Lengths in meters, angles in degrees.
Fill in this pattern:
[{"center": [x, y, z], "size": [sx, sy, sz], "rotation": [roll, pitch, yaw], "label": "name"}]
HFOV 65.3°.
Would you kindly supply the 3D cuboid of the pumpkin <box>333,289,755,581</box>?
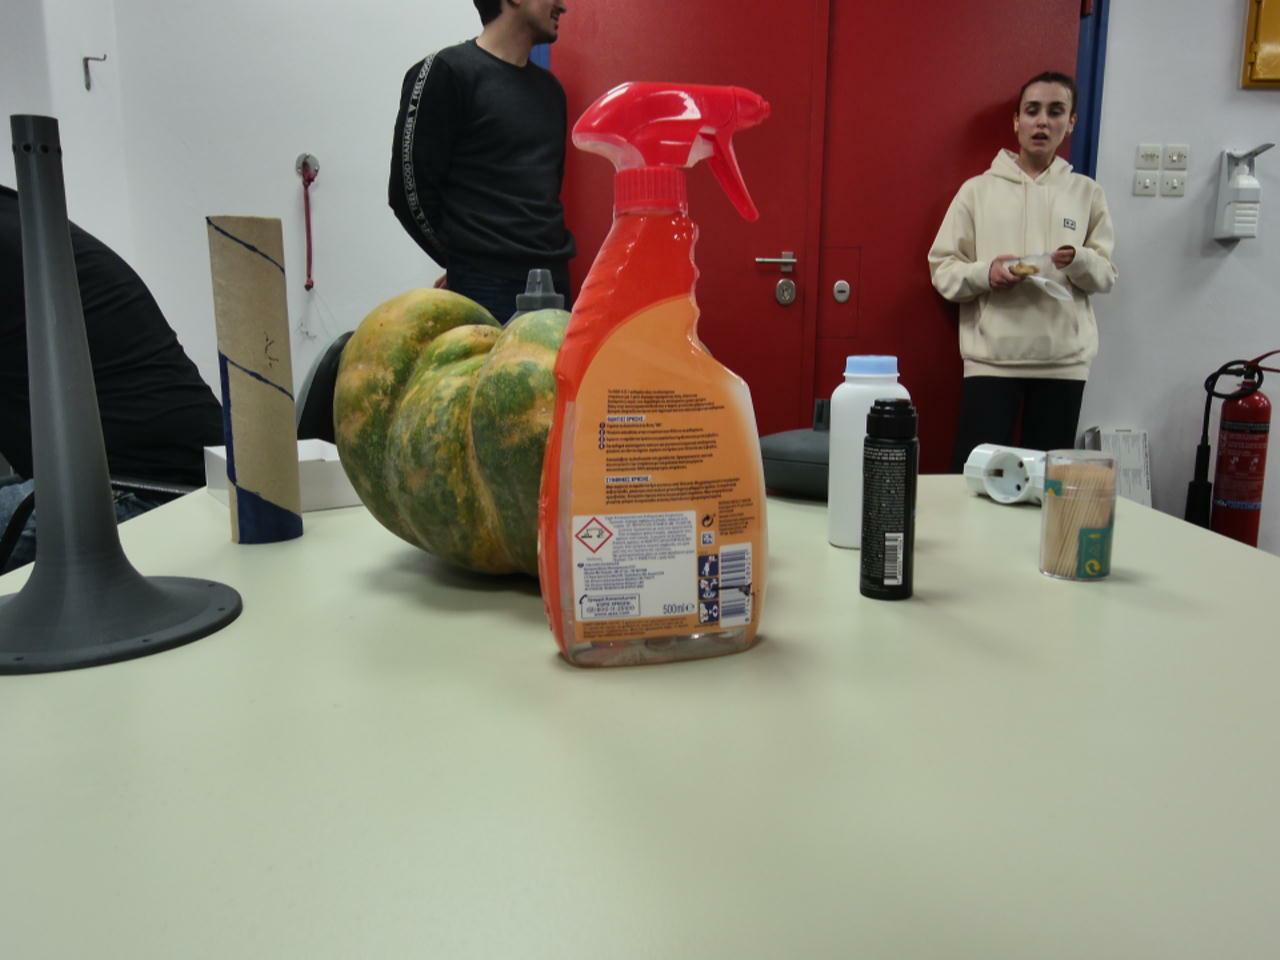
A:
[{"center": [-0.059, -0.031, 0.630], "size": [0.270, 0.173, 0.237], "rotation": [6, 10, 36], "label": "pumpkin"}]
